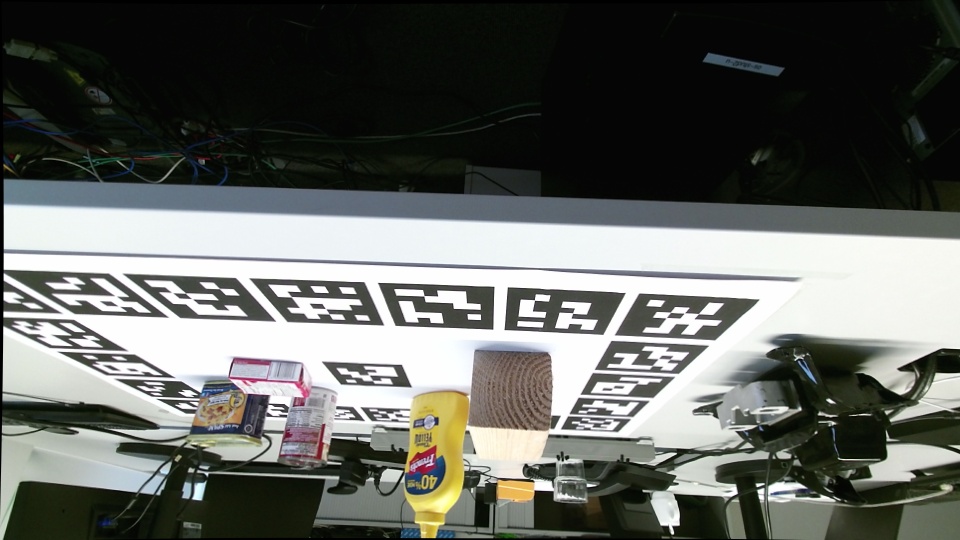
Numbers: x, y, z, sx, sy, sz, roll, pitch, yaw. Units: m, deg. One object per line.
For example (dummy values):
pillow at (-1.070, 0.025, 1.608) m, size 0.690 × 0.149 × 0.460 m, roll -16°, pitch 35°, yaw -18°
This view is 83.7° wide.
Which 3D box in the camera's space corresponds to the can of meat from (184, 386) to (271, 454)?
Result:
can of meat at (-0.359, 0.215, 0.773) m, size 0.102 × 0.083 × 0.058 m, roll -3°, pitch 148°, yaw 15°

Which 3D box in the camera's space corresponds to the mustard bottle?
mustard bottle at (-0.069, 0.276, 0.750) m, size 0.096 × 0.190 × 0.058 m, roll -11°, pitch 147°, yaw 25°

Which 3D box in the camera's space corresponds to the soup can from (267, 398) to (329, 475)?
soup can at (-0.262, 0.246, 0.779) m, size 0.068 × 0.101 × 0.068 m, roll 2°, pitch 147°, yaw 1°

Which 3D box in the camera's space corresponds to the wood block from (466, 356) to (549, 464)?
wood block at (0.031, 0.186, 0.680) m, size 0.091 × 0.089 × 0.206 m, roll 4°, pitch 153°, yaw 2°

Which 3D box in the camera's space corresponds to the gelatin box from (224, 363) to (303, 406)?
gelatin box at (-0.282, 0.150, 0.700) m, size 0.090 × 0.030 × 0.073 m, roll 6°, pitch 147°, yaw -8°
